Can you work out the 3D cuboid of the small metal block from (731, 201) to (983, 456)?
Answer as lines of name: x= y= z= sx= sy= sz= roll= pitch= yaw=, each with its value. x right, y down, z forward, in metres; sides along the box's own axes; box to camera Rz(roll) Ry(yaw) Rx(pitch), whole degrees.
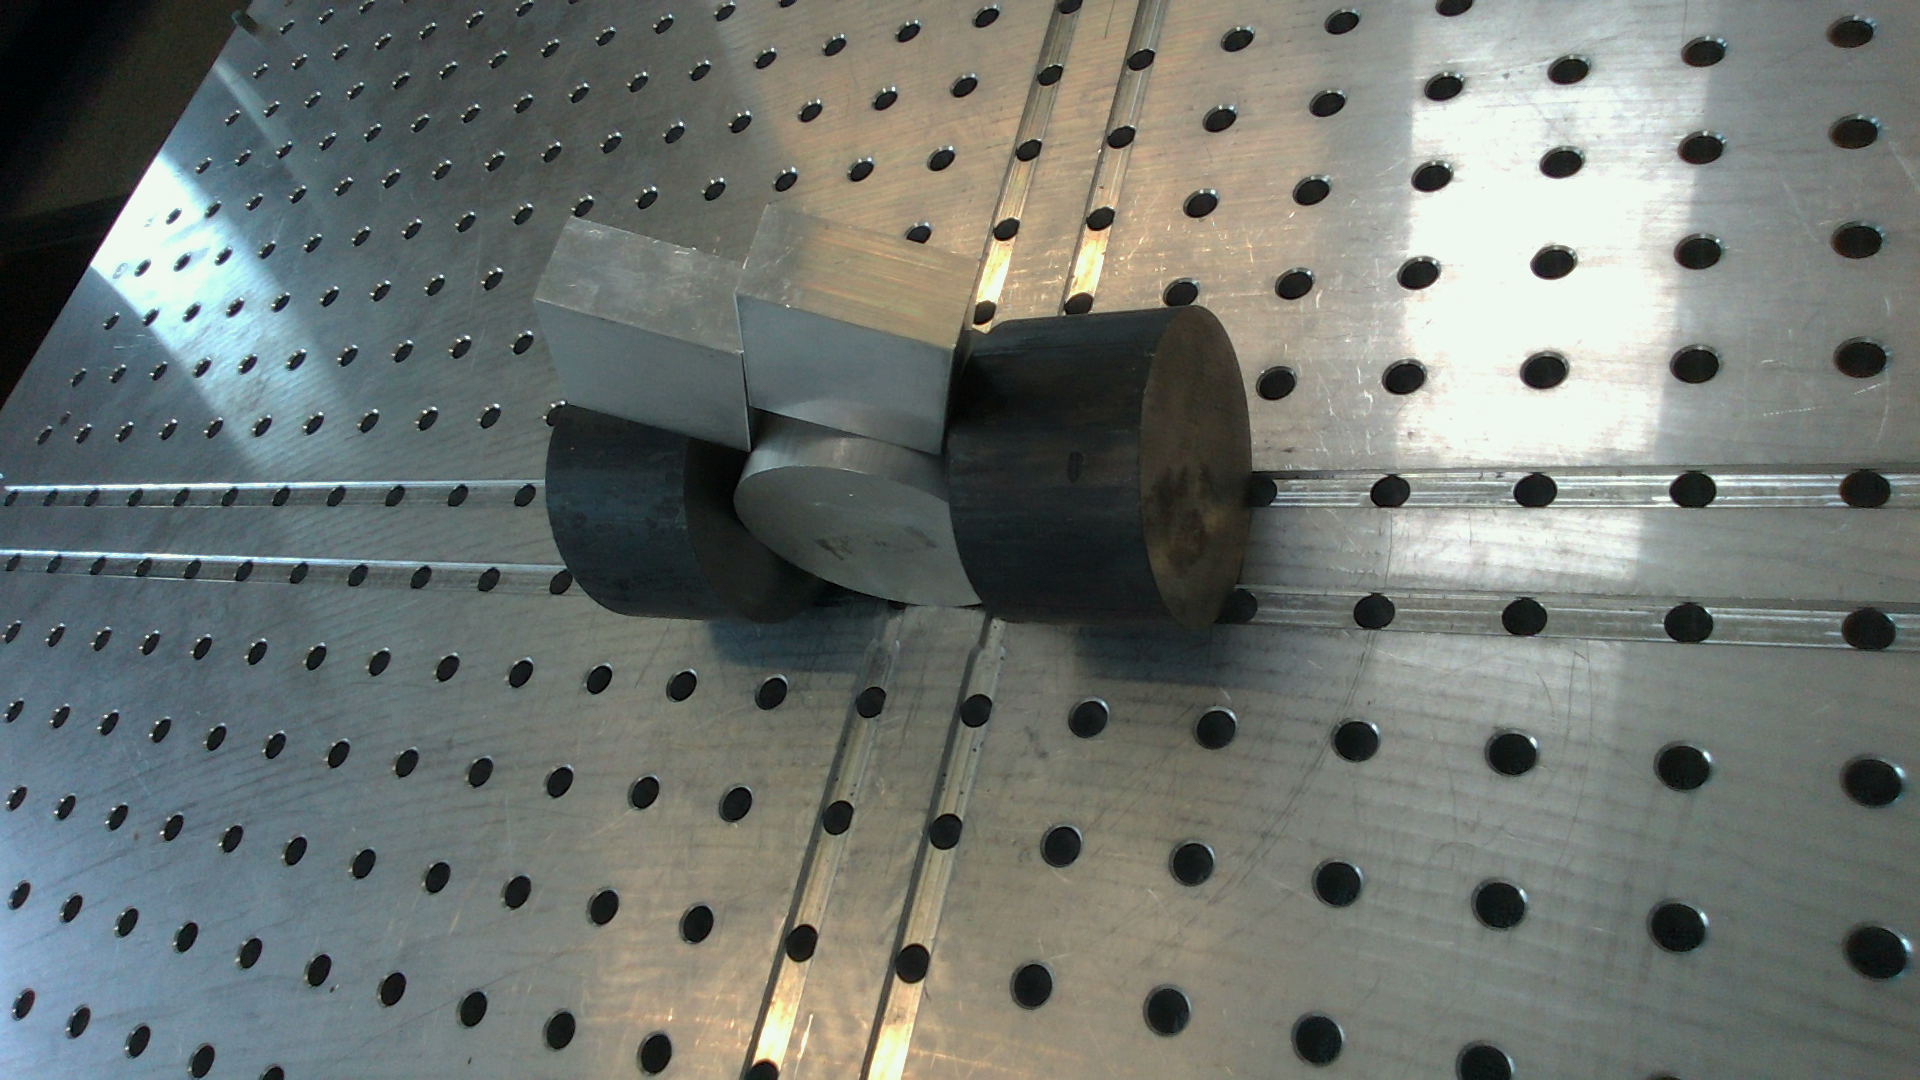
small metal block: x=-0.024 y=-0.048 z=0.324 sx=0.050 sy=0.050 sz=0.025 roll=14 pitch=66 yaw=1

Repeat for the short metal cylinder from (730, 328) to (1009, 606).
short metal cylinder: x=-0.018 y=-0.022 z=0.384 sx=0.080 sy=0.080 sz=0.050 roll=1 pitch=62 yaw=29

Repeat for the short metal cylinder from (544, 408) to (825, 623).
short metal cylinder: x=-0.076 y=-0.016 z=0.412 sx=0.050 sy=0.080 sz=0.080 roll=1 pitch=62 yaw=29

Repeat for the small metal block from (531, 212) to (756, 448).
small metal block: x=-0.075 y=-0.051 z=0.347 sx=0.050 sy=0.050 sz=0.025 roll=15 pitch=66 yaw=0

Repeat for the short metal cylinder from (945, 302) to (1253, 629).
short metal cylinder: x=0.038 y=-0.018 z=0.351 sx=0.050 sy=0.080 sz=0.080 roll=0 pitch=62 yaw=30
